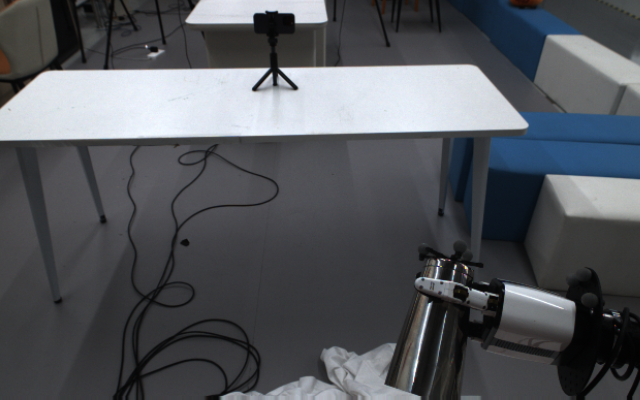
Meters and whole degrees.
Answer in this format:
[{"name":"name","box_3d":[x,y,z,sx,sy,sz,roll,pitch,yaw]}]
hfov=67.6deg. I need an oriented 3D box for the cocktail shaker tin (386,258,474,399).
[{"name":"cocktail shaker tin","box_3d":[0.150,0.164,0.628,0.093,0.093,0.170,13,71,15]}]
